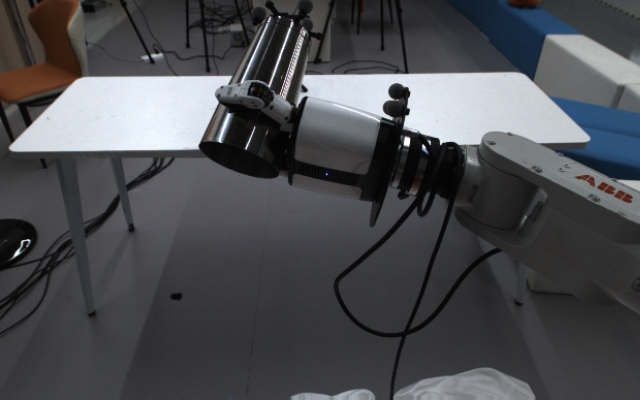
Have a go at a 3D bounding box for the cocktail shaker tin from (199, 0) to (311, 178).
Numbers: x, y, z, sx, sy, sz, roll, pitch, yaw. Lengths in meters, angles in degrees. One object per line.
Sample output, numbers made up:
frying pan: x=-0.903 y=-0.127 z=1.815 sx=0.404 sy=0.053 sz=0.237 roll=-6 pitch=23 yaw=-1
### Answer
cocktail shaker tin: x=-0.065 y=-0.121 z=0.555 sx=0.093 sy=0.093 sz=0.170 roll=13 pitch=73 yaw=15
